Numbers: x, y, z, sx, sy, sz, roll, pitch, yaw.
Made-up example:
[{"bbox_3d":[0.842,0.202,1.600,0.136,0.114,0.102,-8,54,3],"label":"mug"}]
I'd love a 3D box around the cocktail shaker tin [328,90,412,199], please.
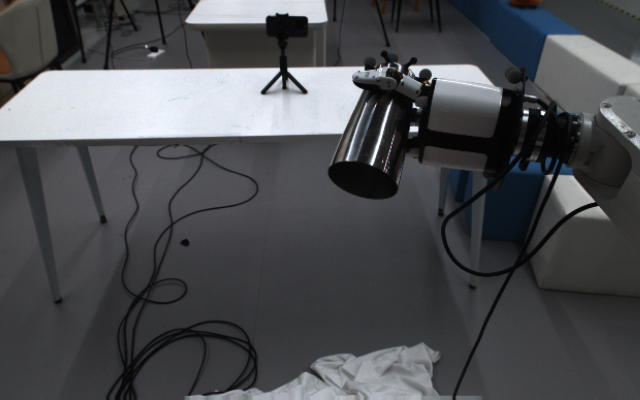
[{"bbox_3d":[0.081,-0.100,0.643,0.093,0.093,0.170,13,65,15],"label":"cocktail shaker tin"}]
